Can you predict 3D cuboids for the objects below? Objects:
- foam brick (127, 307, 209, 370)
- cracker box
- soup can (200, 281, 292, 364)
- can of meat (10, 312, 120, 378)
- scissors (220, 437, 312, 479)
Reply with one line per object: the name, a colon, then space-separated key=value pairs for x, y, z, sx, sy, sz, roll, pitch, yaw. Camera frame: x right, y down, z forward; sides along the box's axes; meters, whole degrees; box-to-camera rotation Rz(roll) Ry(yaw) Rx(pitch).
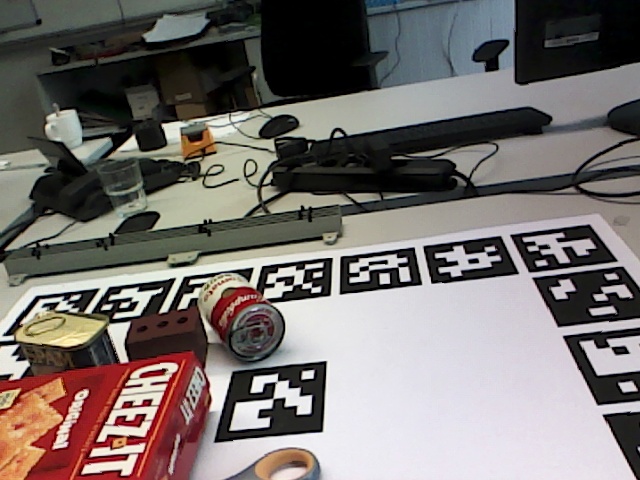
foam brick: x=-0.168 y=0.116 z=0.691 sx=0.078 sy=0.051 sz=0.053 roll=-13 pitch=28 yaw=-4
cracker box: x=-0.217 y=0.181 z=0.531 sx=0.214 sy=0.072 sz=0.165 roll=-14 pitch=27 yaw=3
soup can: x=-0.087 y=0.091 z=0.707 sx=0.067 sy=0.067 sz=0.103 roll=-27 pitch=26 yaw=-27
can of meat: x=-0.265 y=0.128 z=0.664 sx=0.102 sy=0.083 sz=0.058 roll=-1 pitch=30 yaw=18
scissors: x=-0.099 y=0.209 z=0.503 sx=0.203 sy=0.016 sz=0.088 roll=-10 pitch=28 yaw=2
